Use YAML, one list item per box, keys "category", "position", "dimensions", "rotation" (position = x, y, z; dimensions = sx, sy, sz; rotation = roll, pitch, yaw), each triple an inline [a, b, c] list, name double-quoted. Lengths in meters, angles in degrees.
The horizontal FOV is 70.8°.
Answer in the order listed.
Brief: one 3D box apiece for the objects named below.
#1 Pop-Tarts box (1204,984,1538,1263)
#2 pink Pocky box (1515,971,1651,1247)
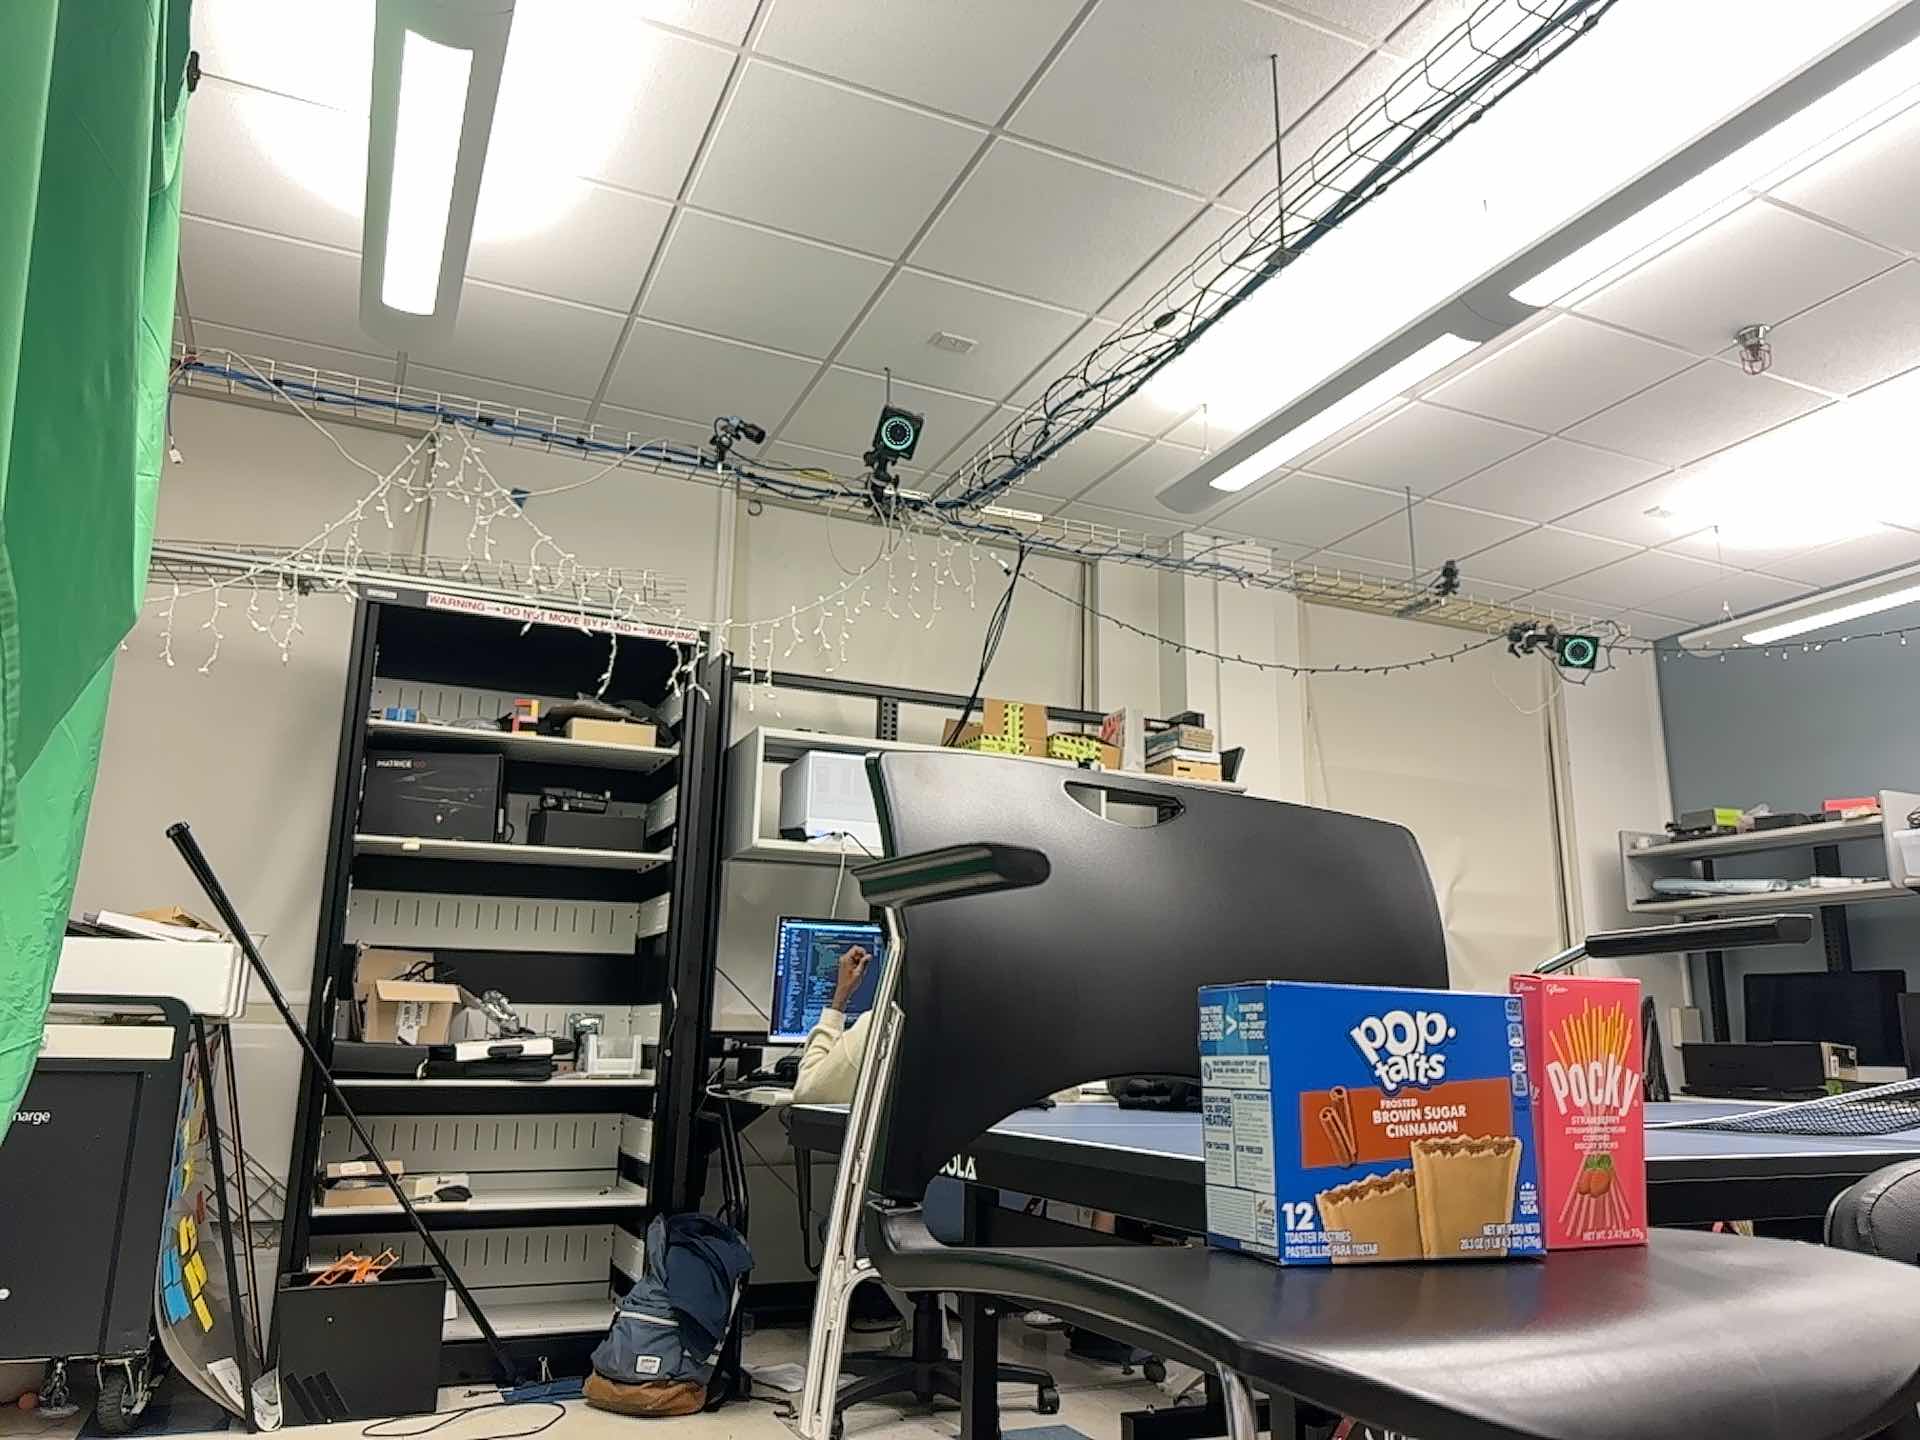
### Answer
- category: "Pop-Tarts box"
  position: [0.231, 0.224, 0.766]
  dimensions: [0.161, 0.135, 0.075]
  rotation: [7, -15, -24]
- category: "pink Pocky box"
  position: [0.370, 0.228, 0.803]
  dimensions: [0.084, 0.155, 0.029]
  rotation: [7, -10, -28]
